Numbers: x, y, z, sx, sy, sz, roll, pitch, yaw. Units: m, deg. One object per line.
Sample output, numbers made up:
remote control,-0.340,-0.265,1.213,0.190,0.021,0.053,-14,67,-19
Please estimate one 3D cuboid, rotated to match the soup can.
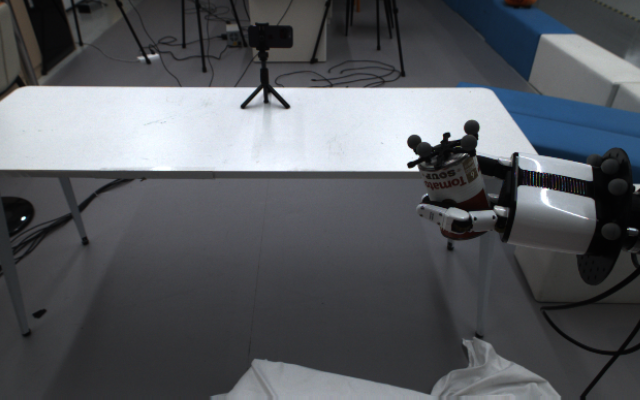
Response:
soup can,0.167,-0.013,0.584,0.067,0.101,0.067,-21,24,10
